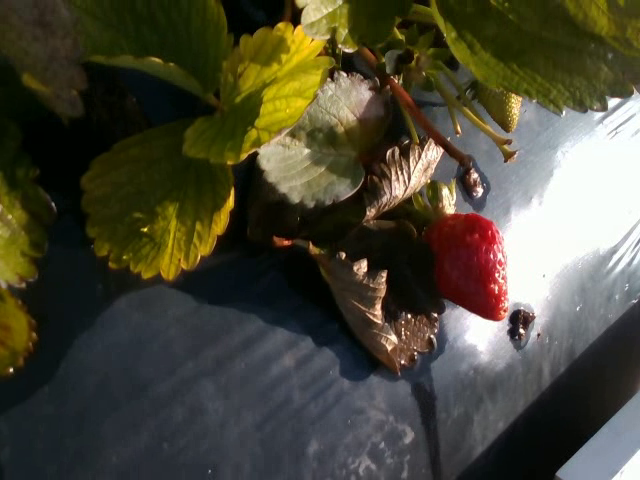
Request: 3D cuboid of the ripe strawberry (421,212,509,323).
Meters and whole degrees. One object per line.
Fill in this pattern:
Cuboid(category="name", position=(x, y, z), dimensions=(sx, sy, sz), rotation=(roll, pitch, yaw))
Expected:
Cuboid(category="ripe strawberry", position=(0.058, 0.017, 0.220), dimensions=(0.046, 0.054, 0.037), rotation=(-5, -21, -42))
